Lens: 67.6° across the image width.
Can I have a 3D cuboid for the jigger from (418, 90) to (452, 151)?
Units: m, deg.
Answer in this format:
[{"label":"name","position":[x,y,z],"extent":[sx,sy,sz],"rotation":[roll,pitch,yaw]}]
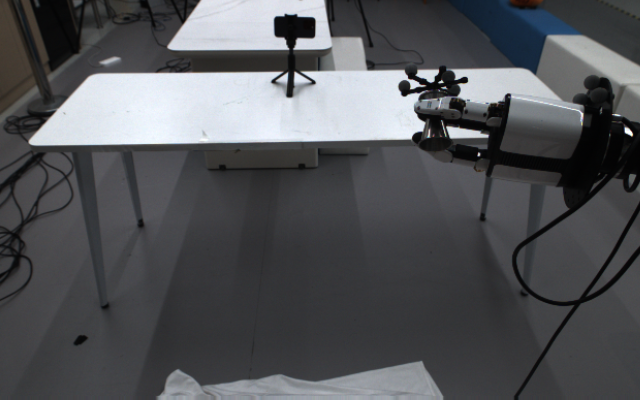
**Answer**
[{"label":"jigger","position":[0.147,-0.104,0.627],"extent":[0.043,0.043,0.071],"rotation":[3,72,1]}]
